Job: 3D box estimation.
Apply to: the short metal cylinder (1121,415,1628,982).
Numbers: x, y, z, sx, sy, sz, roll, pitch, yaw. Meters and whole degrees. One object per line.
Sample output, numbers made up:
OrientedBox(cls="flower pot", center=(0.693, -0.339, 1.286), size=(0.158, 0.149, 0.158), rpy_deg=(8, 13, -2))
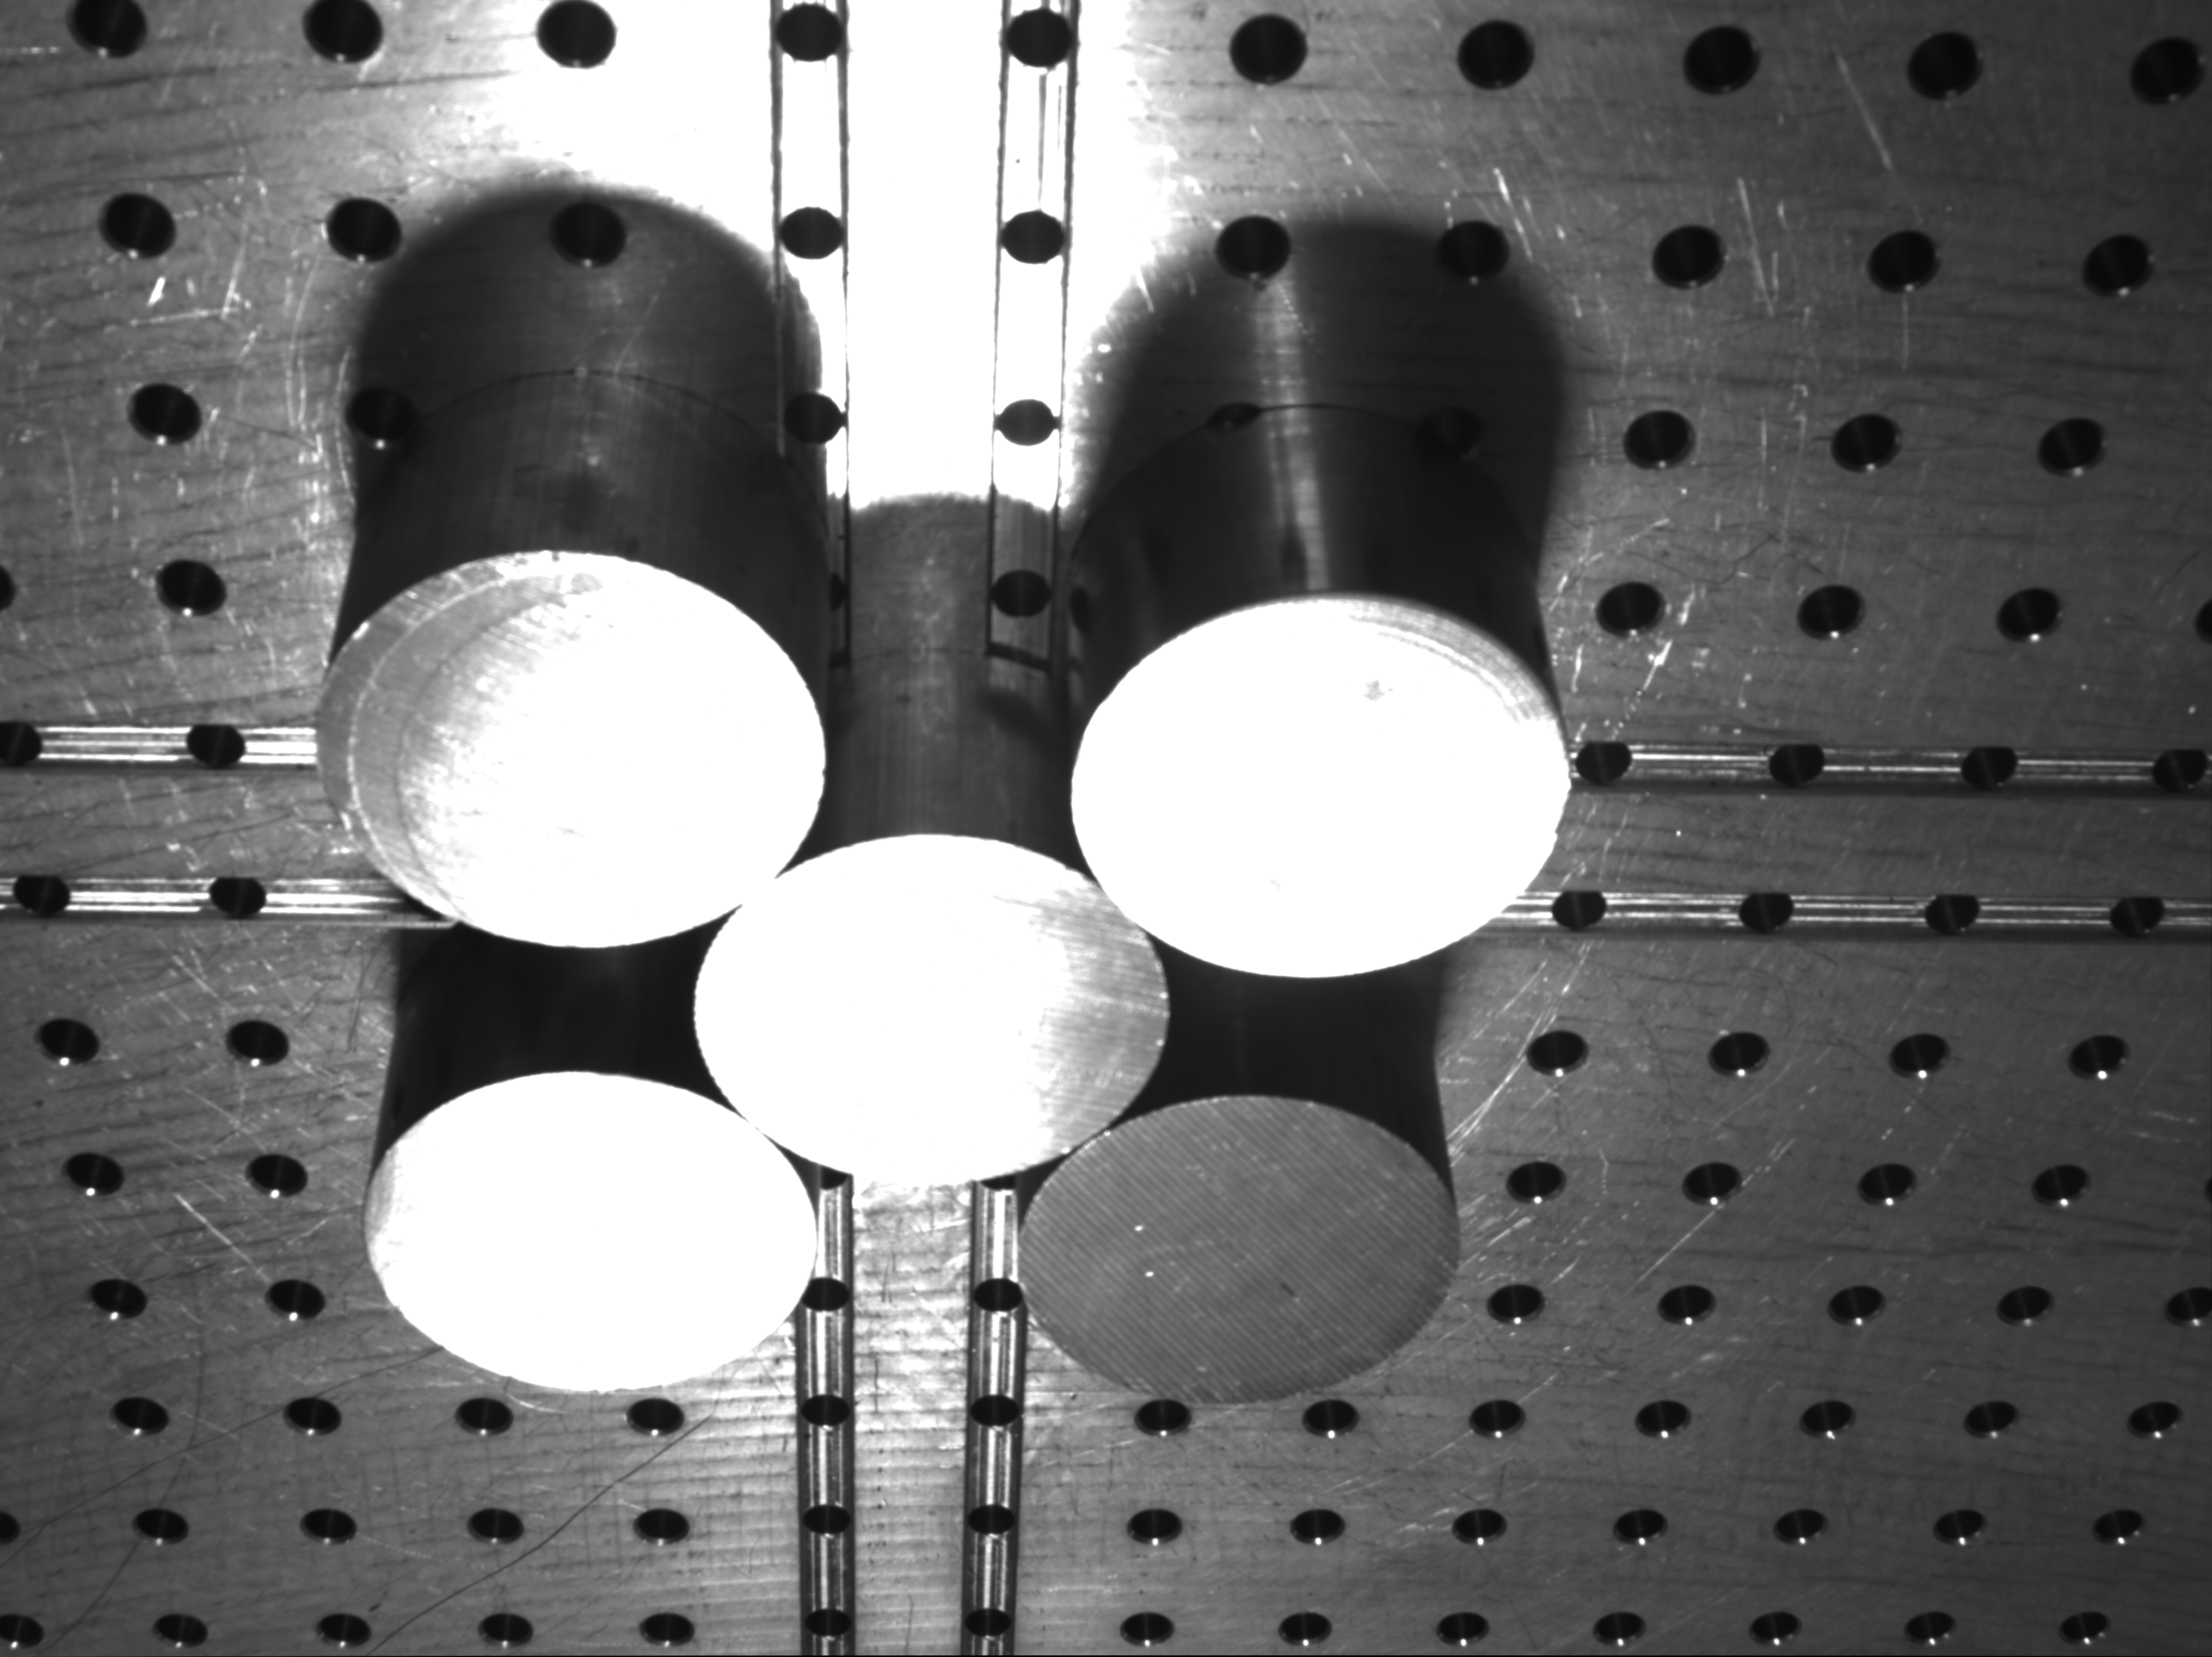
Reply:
OrientedBox(cls="short metal cylinder", center=(0.043, -0.021, 0.606), size=(0.080, 0.050, 0.080), rpy_deg=(-1, 130, -1))

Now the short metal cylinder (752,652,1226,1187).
OrientedBox(cls="short metal cylinder", center=(-0.020, 0.016, 0.637), size=(0.080, 0.050, 0.080), rpy_deg=(-1, 130, -1))

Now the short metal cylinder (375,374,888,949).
OrientedBox(cls="short metal cylinder", center=(-0.076, -0.027, 0.599), size=(0.080, 0.050, 0.080), rpy_deg=(-1, 130, -1))

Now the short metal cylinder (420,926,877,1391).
OrientedBox(cls="short metal cylinder", center=(-0.082, 0.057, 0.669), size=(0.080, 0.050, 0.080), rpy_deg=(-1, 130, -1))

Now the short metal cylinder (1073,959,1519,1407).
OrientedBox(cls="short metal cylinder", center=(0.034, 0.061, 0.677), size=(0.080, 0.050, 0.080), rpy_deg=(-1, 130, -1))
